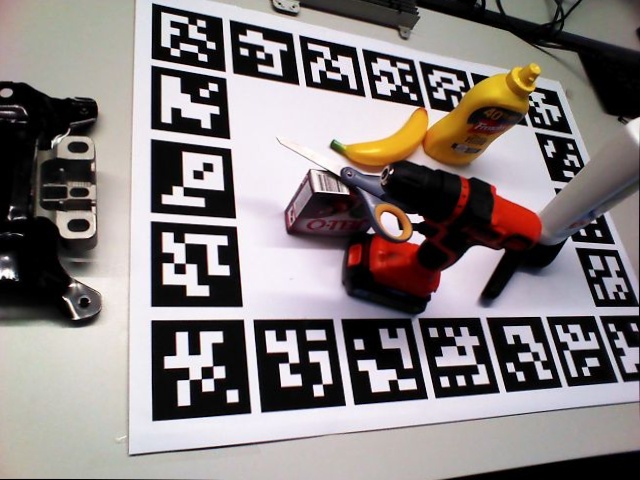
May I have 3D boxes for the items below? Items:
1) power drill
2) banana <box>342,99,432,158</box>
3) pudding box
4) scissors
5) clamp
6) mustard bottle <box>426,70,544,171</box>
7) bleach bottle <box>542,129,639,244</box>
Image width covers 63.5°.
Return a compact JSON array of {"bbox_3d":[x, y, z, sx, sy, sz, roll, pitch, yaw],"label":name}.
[{"bbox_3d":[0.115,0.002,0.561,0.184,0.188,0.057,15,53,-15],"label":"power drill"},{"bbox_3d":[0.118,-0.167,0.765,0.074,0.039,0.196,38,55,17],"label":"banana"},{"bbox_3d":[0.021,-0.045,0.636,0.113,0.090,0.038,8,56,-22],"label":"pudding box"},{"bbox_3d":[0.037,-0.079,0.582,0.203,0.016,0.087,29,61,-15],"label":"scissors"},{"bbox_3d":[0.307,-0.005,0.762,0.202,0.037,0.165,-3,69,-27],"label":"clamp"},{"bbox_3d":[0.244,-0.175,0.747,0.096,0.193,0.058,17,59,-18],"label":"mustard bottle"},{"bbox_3d":[0.378,-0.061,0.695,0.102,0.252,0.068,-18,70,-23],"label":"bleach bottle"}]
